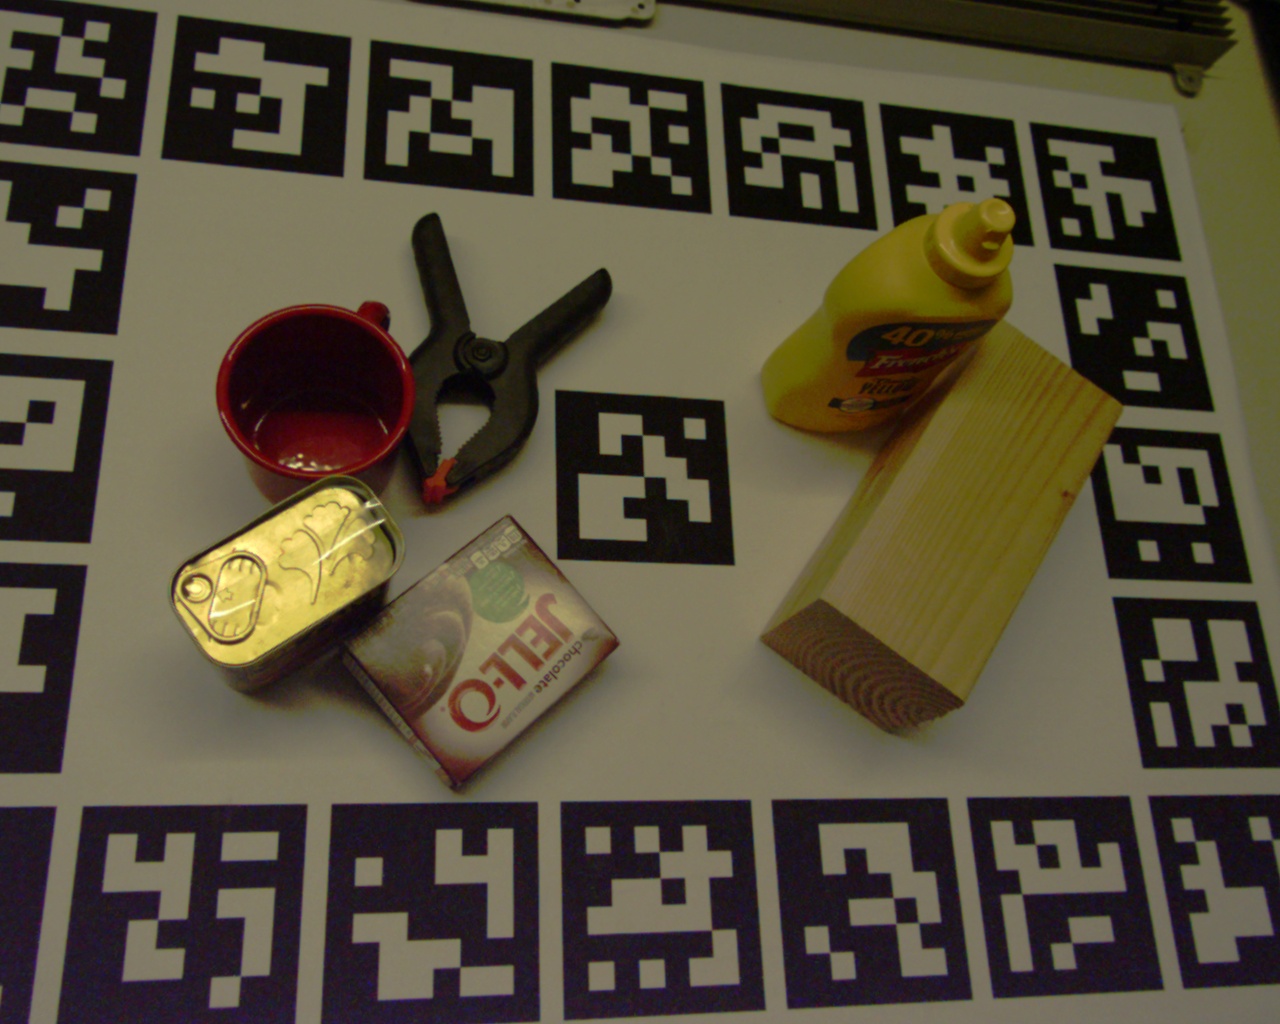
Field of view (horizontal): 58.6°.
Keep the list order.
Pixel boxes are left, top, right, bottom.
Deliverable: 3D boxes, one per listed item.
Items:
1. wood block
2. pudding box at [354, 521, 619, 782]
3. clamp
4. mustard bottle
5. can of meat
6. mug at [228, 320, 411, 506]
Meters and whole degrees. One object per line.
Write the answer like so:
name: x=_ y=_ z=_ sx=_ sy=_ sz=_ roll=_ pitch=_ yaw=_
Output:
wood block: x=0.164 y=0.013 z=0.665 sx=0.090 sy=0.091 sz=0.205 roll=37 pitch=66 yaw=2
pudding box: x=-0.082 y=0.074 z=0.611 sx=0.113 sy=0.039 sz=0.090 roll=-39 pitch=85 yaw=-23
clamp: x=-0.094 y=-0.086 z=0.668 sx=0.121 sy=0.037 sz=0.165 roll=21 pitch=70 yaw=-7
mustard bottle: x=0.134 y=-0.104 z=0.637 sx=0.095 sy=0.192 sz=0.058 roll=-3 pitch=74 yaw=-14
can of meat: x=-0.172 y=0.041 z=0.572 sx=0.101 sy=0.084 sz=0.058 roll=-29 pitch=82 yaw=-20
mug: x=-0.171 y=-0.053 z=0.634 sx=0.093 sy=0.082 sz=0.117 roll=24 pitch=70 yaw=-5
